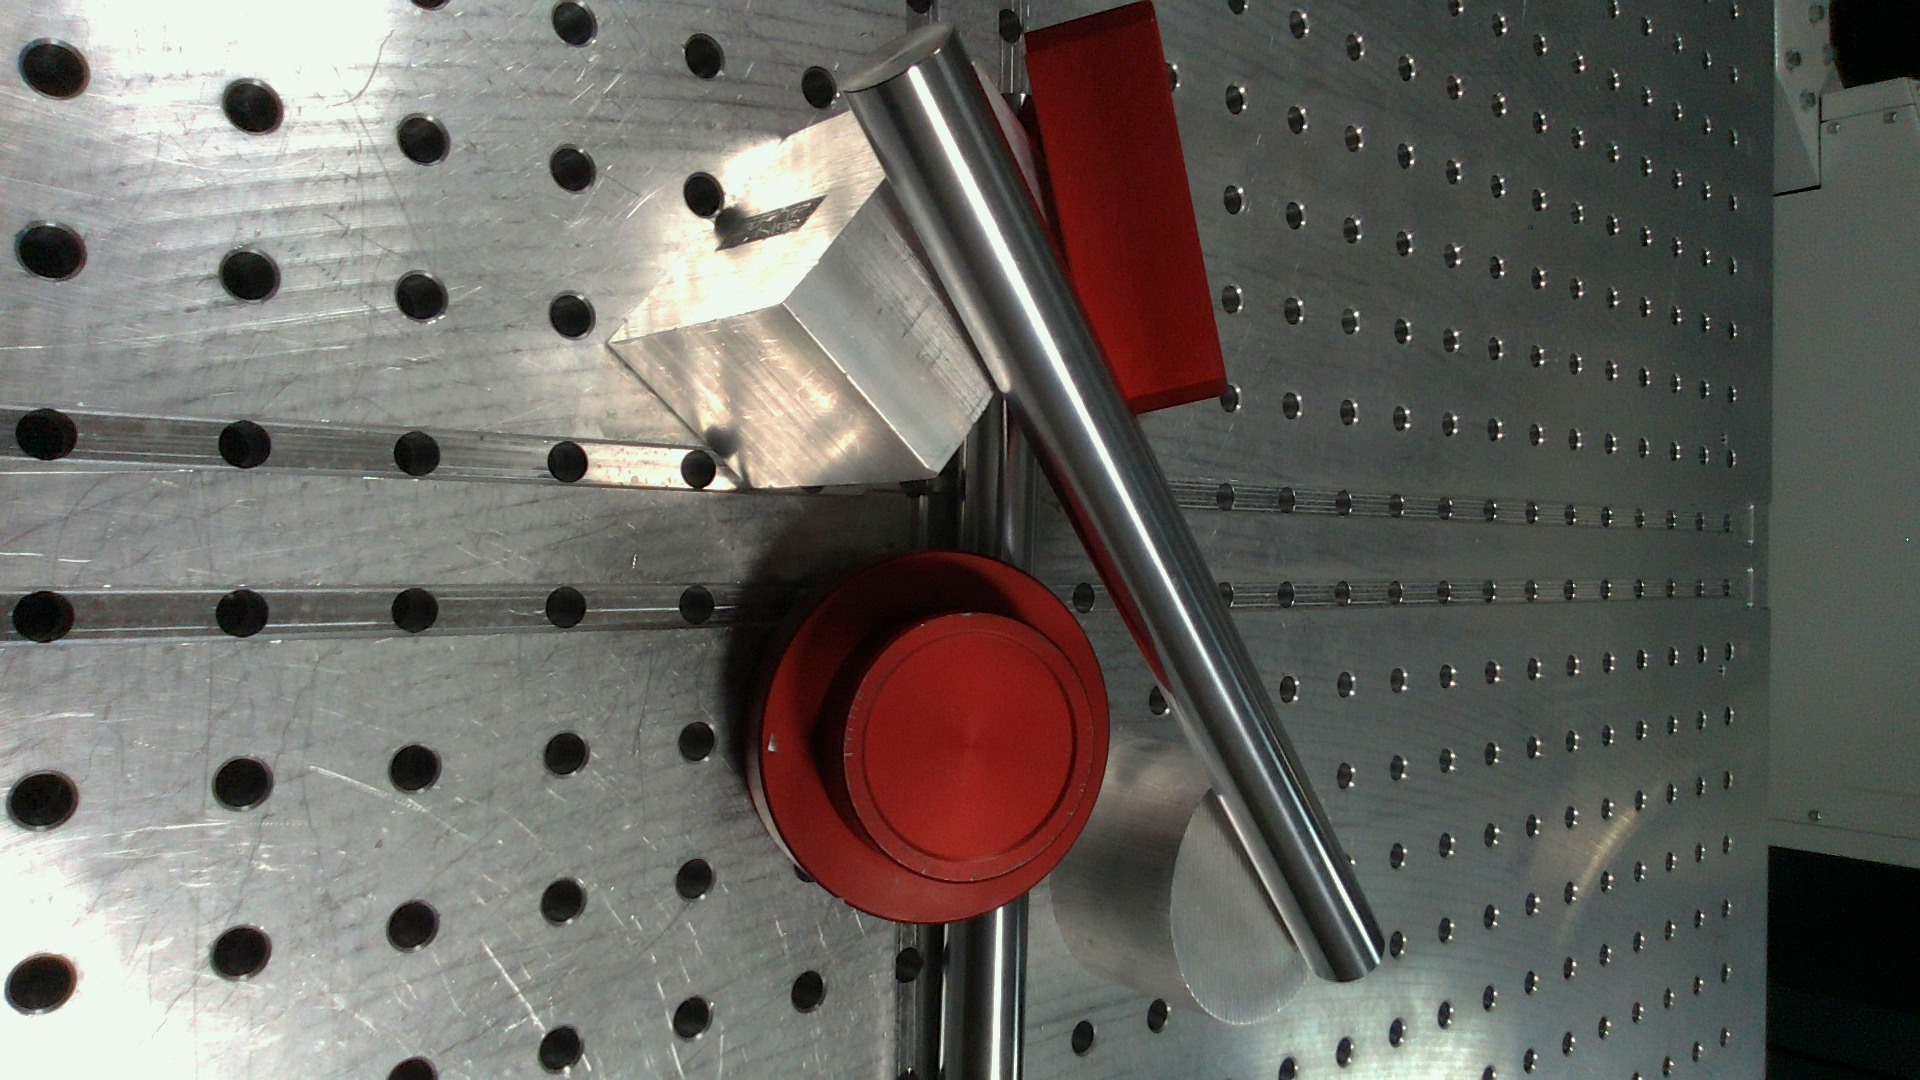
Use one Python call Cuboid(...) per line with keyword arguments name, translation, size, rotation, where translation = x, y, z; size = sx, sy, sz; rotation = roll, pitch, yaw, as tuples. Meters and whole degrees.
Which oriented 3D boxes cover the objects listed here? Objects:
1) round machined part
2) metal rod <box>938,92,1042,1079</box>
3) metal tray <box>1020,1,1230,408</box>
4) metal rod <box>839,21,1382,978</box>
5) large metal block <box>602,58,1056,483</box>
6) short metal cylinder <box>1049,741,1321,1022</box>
Cuboid(name="round machined part", translation=(-0.003, 0.052, 0.358), size=(0.098, 0.042, 0.098), rotation=(0, 90, -23))
Cuboid(name="metal rod", translation=(0.010, 0.023, 0.400), size=(0.025, 0.025, 0.300), rotation=(3, 88, -40))
Cuboid(name="metal tray", translation=(0.046, -0.088, 0.376), size=(0.130, 0.030, 0.090), rotation=(-61, 138, -75))
Cuboid(name="metal rod", translation=(0.053, 0.016, 0.344), size=(0.025, 0.025, 0.301), rotation=(-51, 128, -28))
Cuboid(name="large metal block", translation=(-0.027, -0.062, 0.335), size=(0.050, 0.080, 0.080), rotation=(49, 61, -29))
Cuboid(name="short metal cylinder", translation=(0.075, 0.106, 0.439), size=(0.080, 0.050, 0.080), rotation=(0, 90, -40))
